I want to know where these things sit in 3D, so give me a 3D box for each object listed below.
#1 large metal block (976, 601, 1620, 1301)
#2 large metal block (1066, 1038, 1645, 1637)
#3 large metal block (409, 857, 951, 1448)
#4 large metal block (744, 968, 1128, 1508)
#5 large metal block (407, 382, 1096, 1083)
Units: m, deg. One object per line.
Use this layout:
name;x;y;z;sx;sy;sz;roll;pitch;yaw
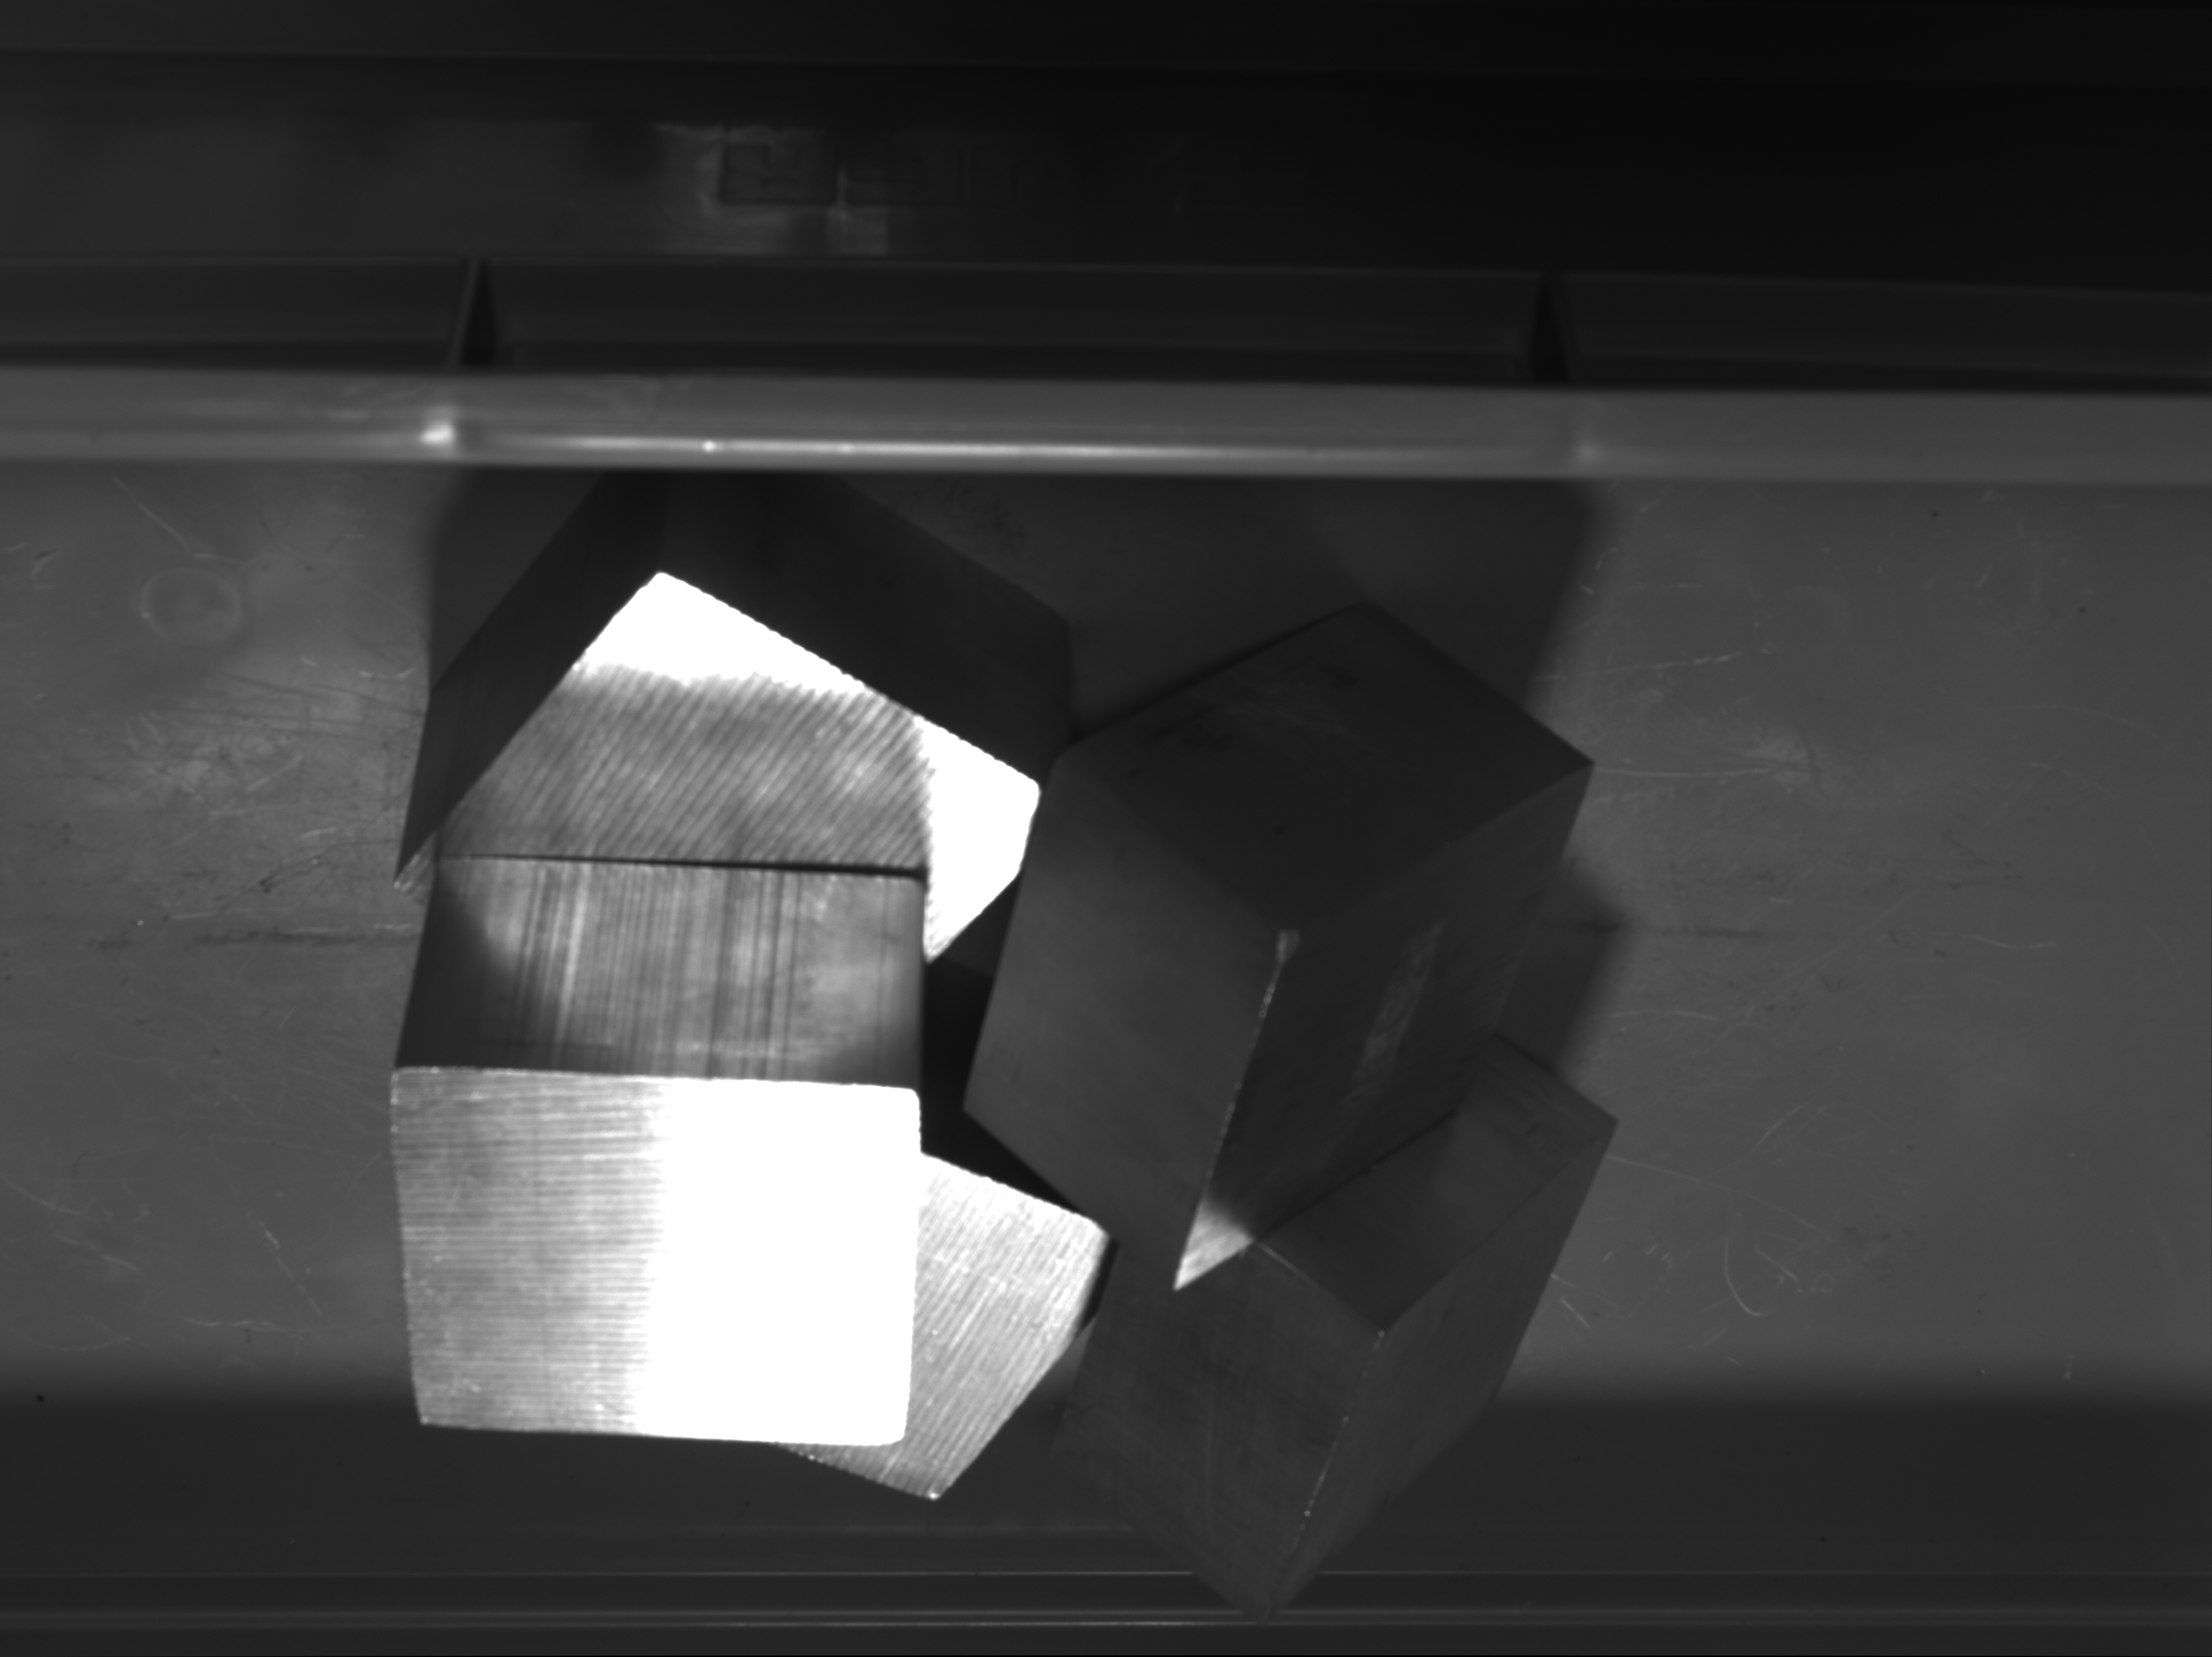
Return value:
large metal block;0.031;0.019;0.610;0.080;0.050;0.080;-27;145;-41
large metal block;0.045;0.085;0.665;0.050;0.080;0.080;35;132;21
large metal block;-0.067;0.053;0.596;0.080;0.050;0.080;3;129;-3
large metal block;-0.043;0.070;0.674;0.080;0.050;0.080;24;125;-20
large metal block;-0.058;-0.013;0.608;0.080;0.050;0.080;30;123;-24
